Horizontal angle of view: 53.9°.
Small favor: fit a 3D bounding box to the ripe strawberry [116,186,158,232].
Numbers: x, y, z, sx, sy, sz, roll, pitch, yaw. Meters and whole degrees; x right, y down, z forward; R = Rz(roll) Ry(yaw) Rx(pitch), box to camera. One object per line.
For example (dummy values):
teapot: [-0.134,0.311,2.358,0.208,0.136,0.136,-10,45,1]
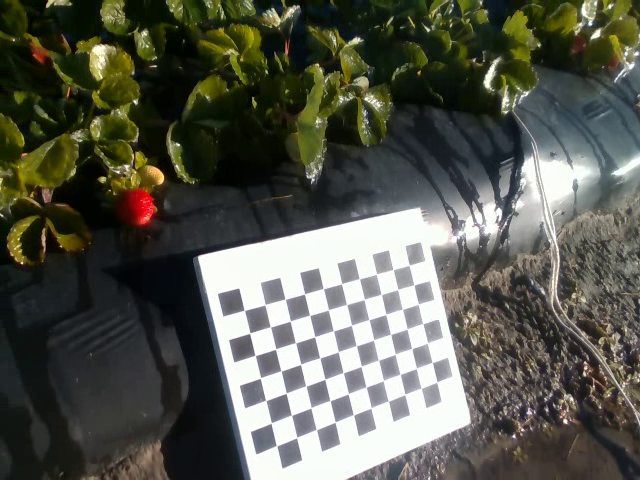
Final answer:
ripe strawberry: [-0.138,-0.021,0.474,0.039,0.040,0.039,-23,30,-17]
